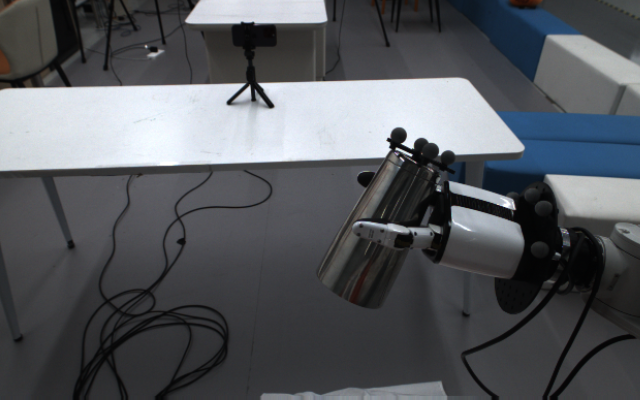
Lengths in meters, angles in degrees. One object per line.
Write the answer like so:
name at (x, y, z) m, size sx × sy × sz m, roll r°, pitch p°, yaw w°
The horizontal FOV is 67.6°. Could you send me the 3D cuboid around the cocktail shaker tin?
cocktail shaker tin at (0.075, 0.028, 0.570) m, size 0.093 × 0.170 × 0.093 m, roll 24°, pitch 13°, yaw -6°
